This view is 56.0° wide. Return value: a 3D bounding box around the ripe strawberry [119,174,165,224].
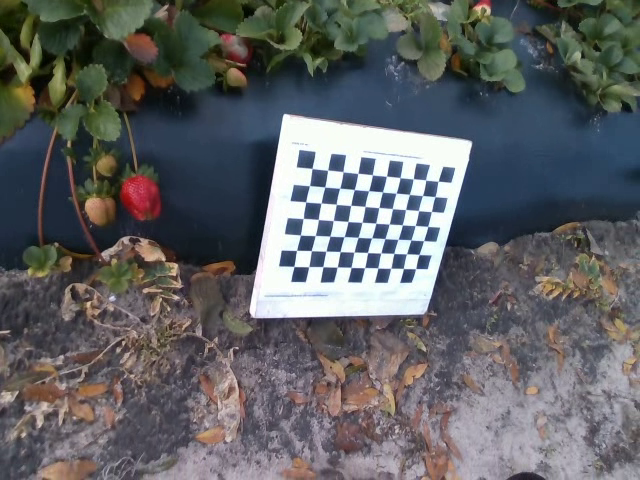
[{"bbox_3d":[-0.227,-0.051,0.750,0.066,0.075,0.052,-16,27,-20],"label":"ripe strawberry"}]
